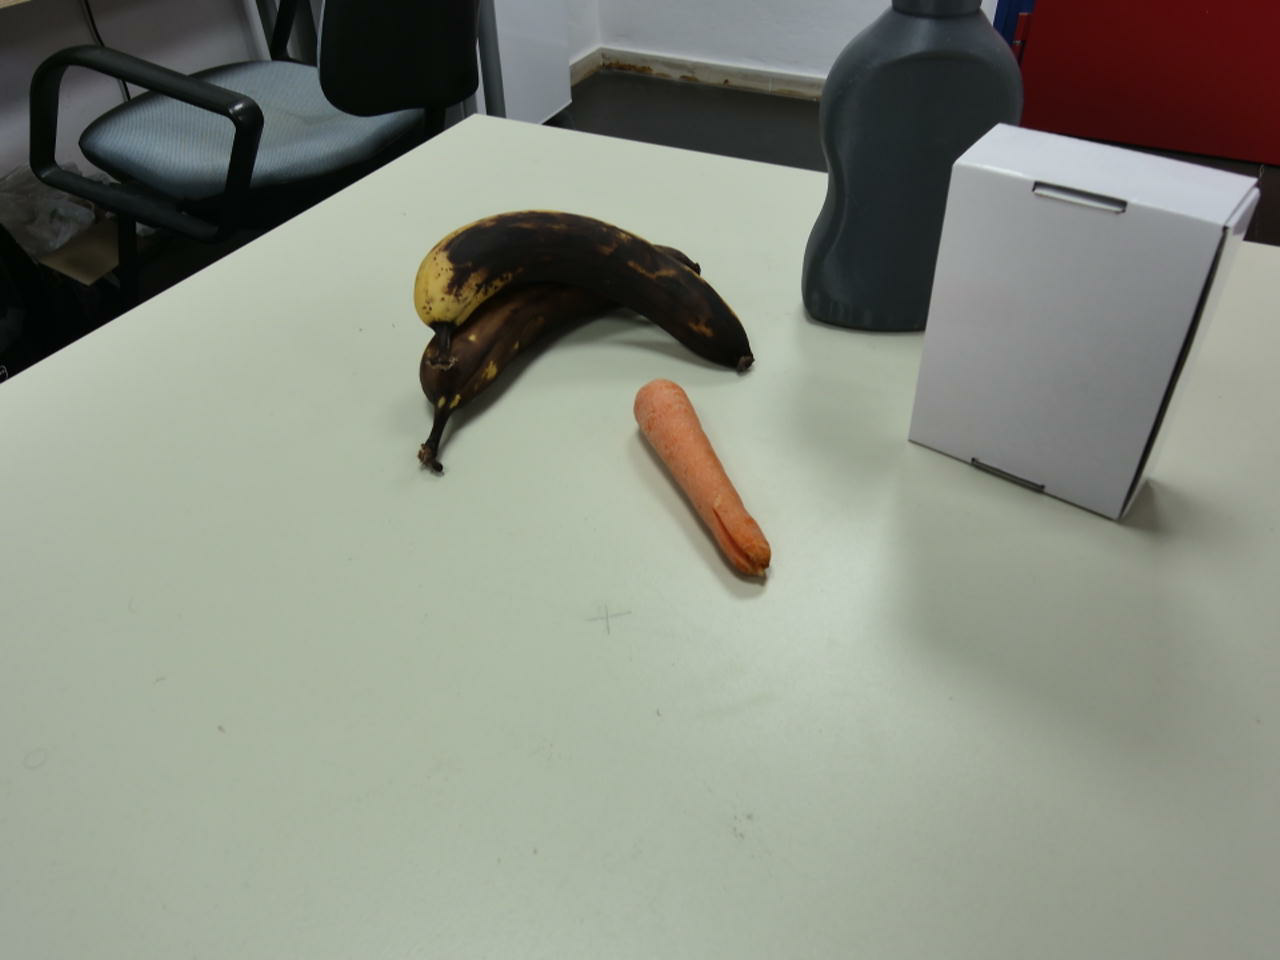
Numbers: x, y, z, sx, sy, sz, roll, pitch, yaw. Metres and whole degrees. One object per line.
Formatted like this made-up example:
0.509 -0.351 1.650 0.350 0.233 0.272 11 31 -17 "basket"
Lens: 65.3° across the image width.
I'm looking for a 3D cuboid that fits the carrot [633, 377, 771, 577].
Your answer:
0.027 -0.006 0.470 0.030 0.032 0.136 -12 38 -14 "carrot"
